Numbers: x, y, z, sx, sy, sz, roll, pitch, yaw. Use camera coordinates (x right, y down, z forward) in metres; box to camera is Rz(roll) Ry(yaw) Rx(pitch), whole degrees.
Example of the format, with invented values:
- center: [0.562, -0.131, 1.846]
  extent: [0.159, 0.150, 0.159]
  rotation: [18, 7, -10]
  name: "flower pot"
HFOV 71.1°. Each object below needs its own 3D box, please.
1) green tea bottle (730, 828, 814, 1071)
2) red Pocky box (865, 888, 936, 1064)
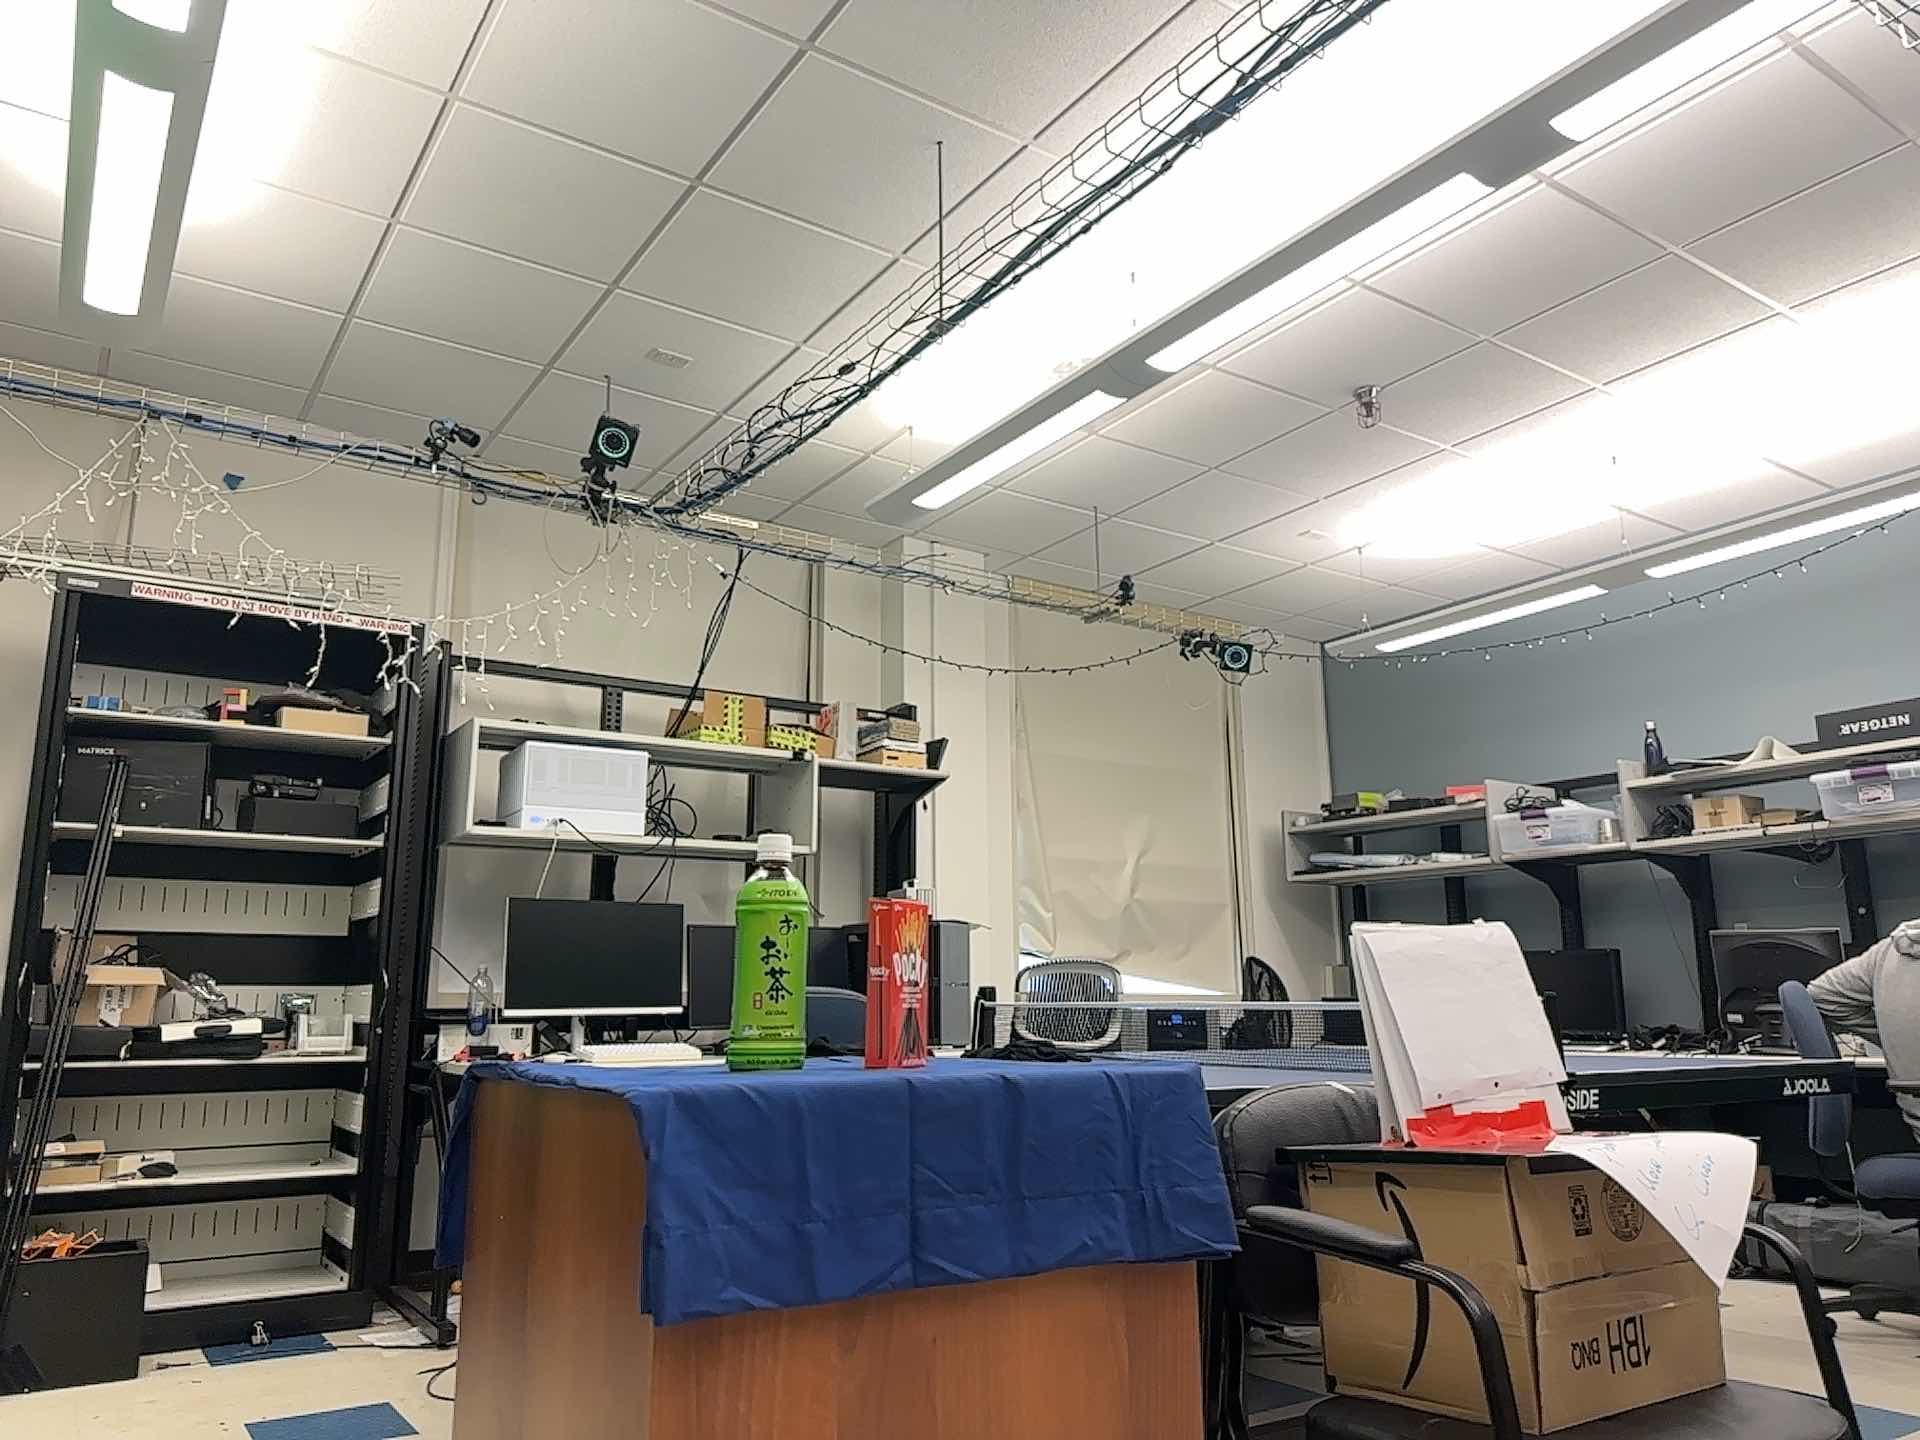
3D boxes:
- center: [-0.168, 0.203, 1.202]
  extent: [0.073, 0.212, 0.073]
  rotation: [-1, -10, 0]
  name: "green tea bottle"
- center: [-0.054, 0.232, 1.225]
  extent: [0.028, 0.155, 0.083]
  rotation: [-4, -12, 27]
  name: "red Pocky box"
